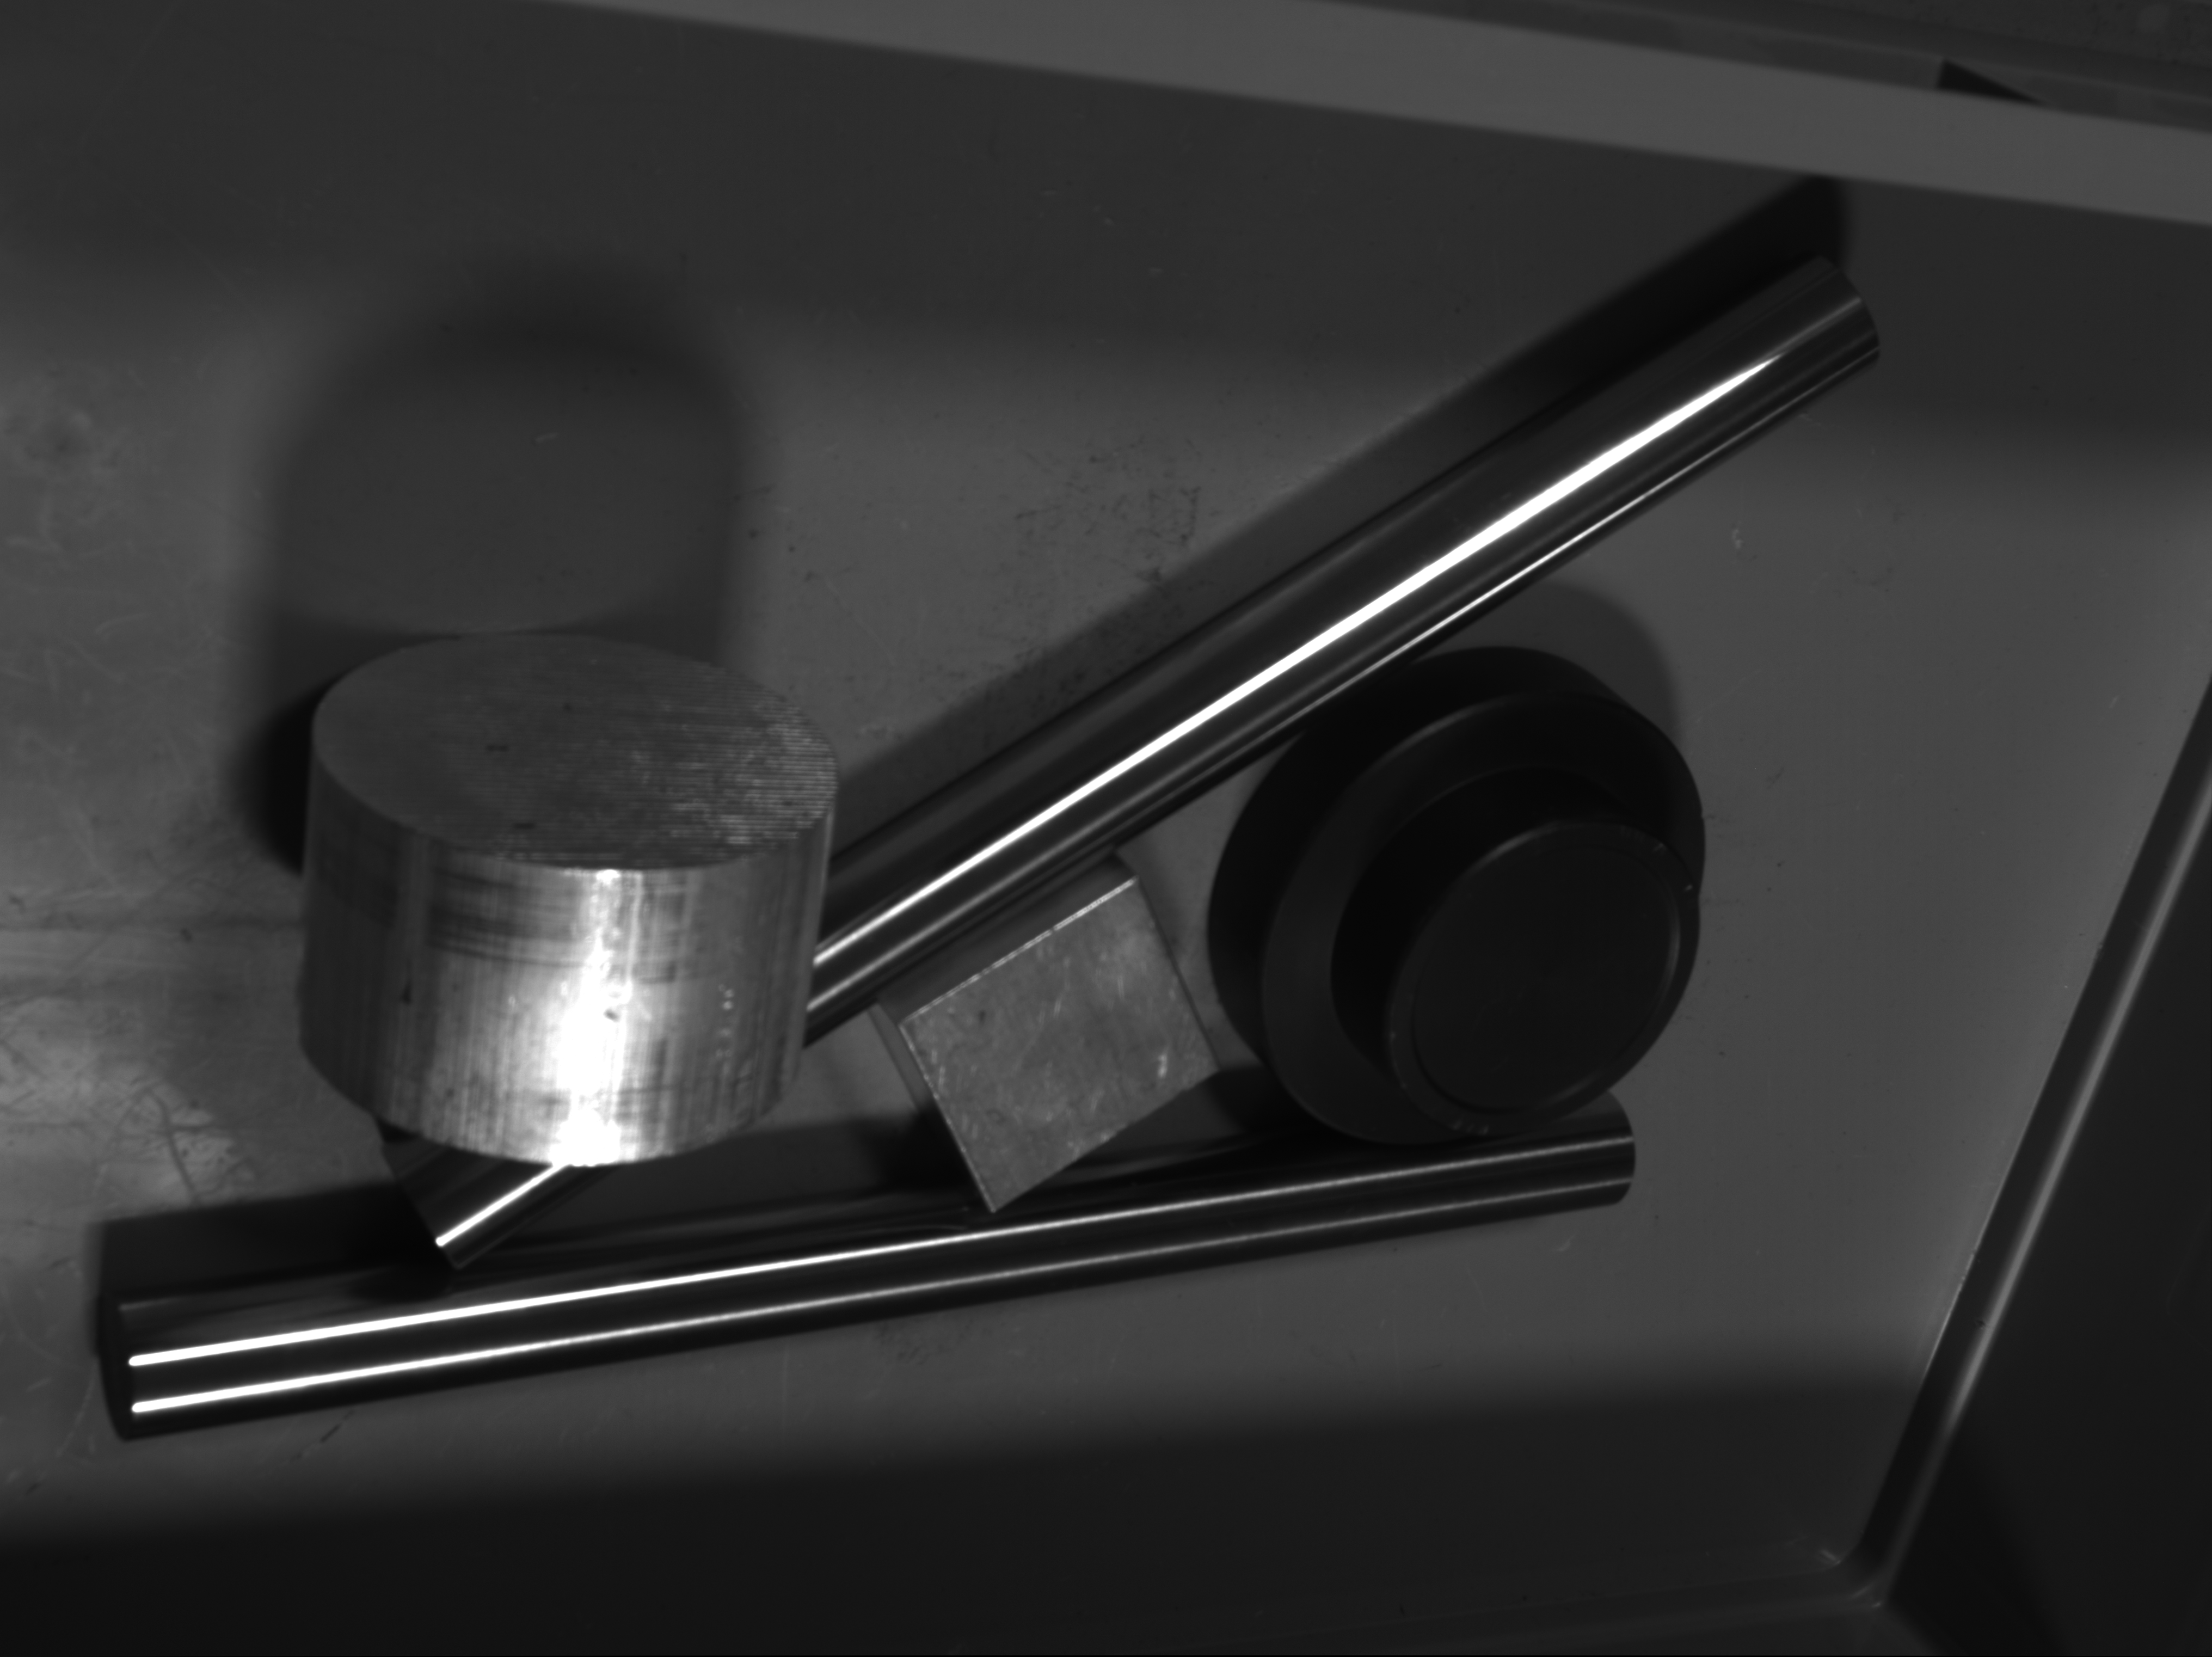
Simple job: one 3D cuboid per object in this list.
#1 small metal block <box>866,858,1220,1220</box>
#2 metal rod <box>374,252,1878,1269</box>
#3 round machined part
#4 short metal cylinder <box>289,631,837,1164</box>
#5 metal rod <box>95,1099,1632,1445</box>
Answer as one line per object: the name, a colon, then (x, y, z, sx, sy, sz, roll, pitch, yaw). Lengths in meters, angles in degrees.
small metal block: (-0.013, 0.034, 0.662, 0.050, 0.025, 0.050, -31, 129, -10)
metal rod: (0.008, -0.015, 0.645, 0.300, 0.025, 0.025, -32, 129, -9)
round machined part: (0.072, 0.020, 0.690, 0.098, 0.042, 0.098, -15, 125, -22)
short metal cylinder: (-0.085, 0.009, 0.570, 0.080, 0.080, 0.050, -5, 121, -28)
metal rod: (-0.033, 0.078, 0.678, 0.301, 0.025, 0.025, -5, 121, -28)
